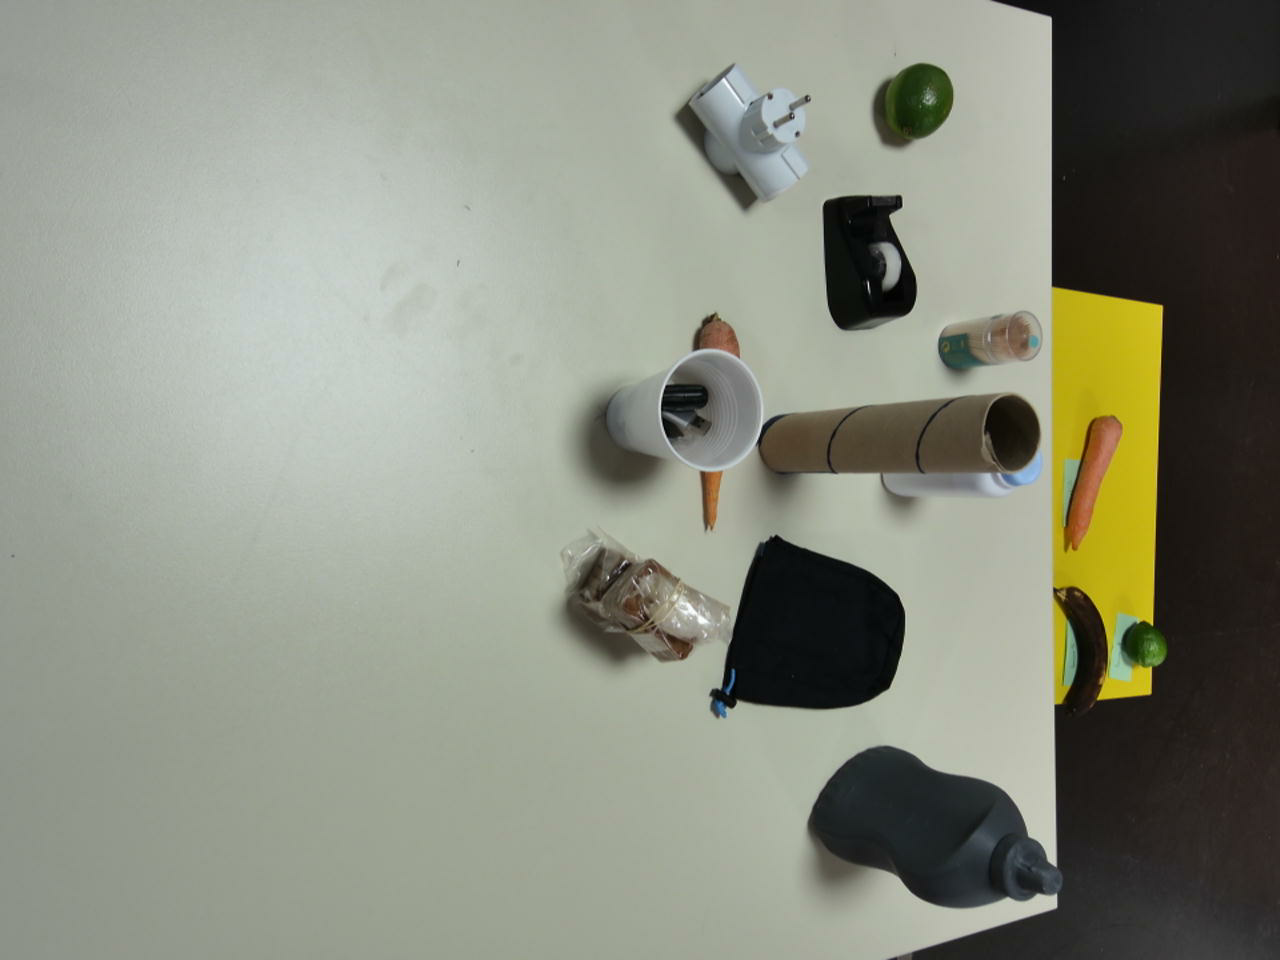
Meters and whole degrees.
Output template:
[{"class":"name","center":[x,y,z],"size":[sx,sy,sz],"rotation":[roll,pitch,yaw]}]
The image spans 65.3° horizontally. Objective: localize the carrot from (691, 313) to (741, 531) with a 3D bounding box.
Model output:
[{"class":"carrot","center":[0.059,-0.042,0.734],"size":[0.031,0.029,0.163],"rotation":[-1,91,-28]}]
